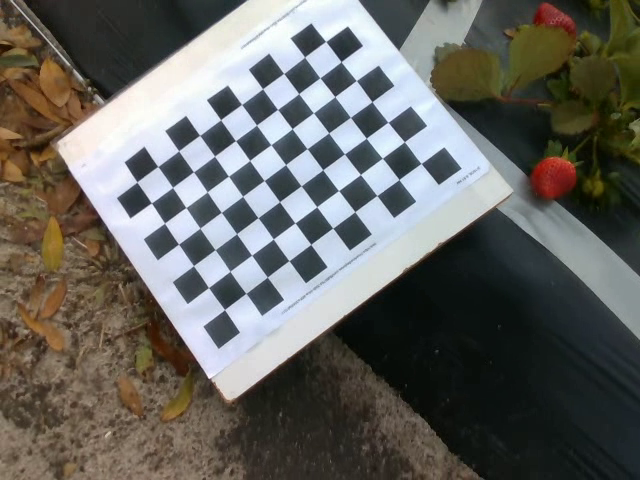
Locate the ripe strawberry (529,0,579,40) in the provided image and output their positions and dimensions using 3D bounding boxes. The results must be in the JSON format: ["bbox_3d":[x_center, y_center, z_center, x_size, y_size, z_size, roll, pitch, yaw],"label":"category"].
[{"bbox_3d":[0.218,-0.213,0.608,0.043,0.062,0.043,-22,-21,9],"label":"ripe strawberry"}]

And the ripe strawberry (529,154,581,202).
[{"bbox_3d":[0.190,-0.046,0.522,0.039,0.047,0.041,13,-17,20],"label":"ripe strawberry"}]
